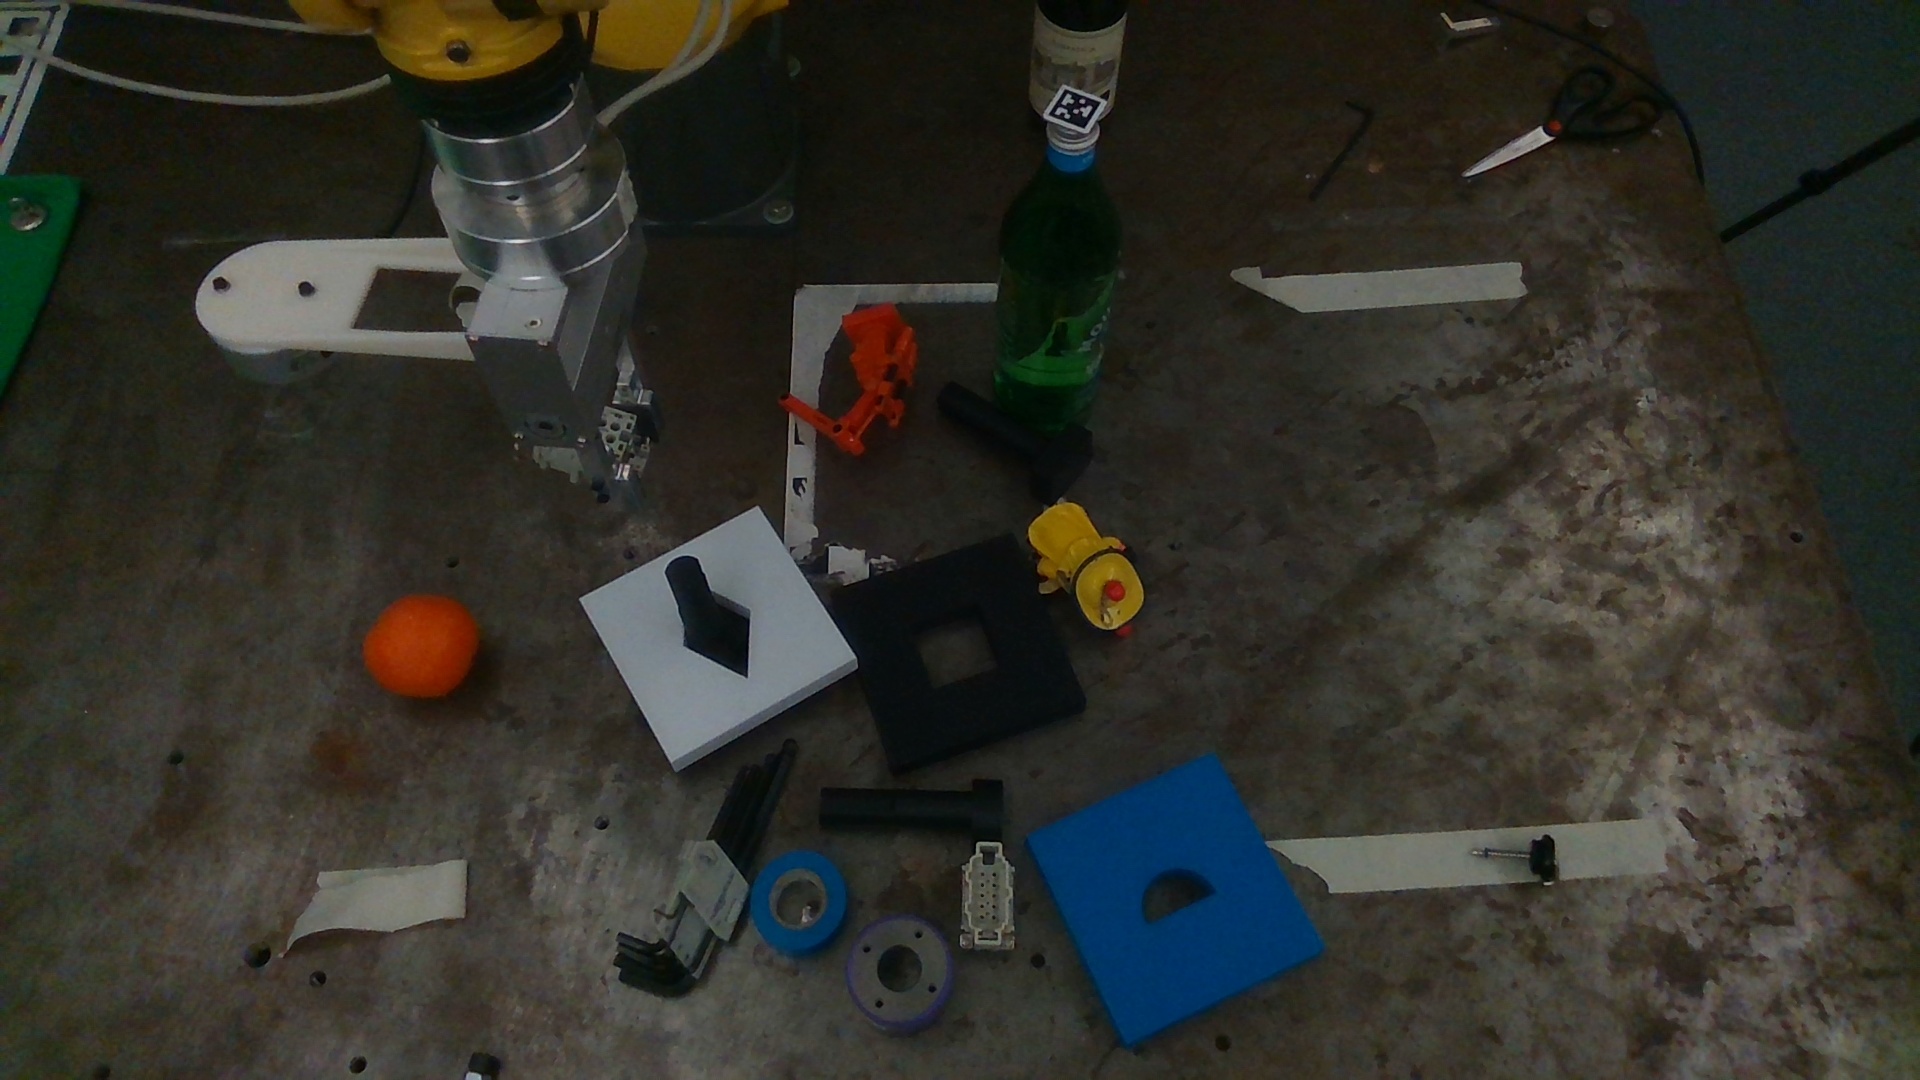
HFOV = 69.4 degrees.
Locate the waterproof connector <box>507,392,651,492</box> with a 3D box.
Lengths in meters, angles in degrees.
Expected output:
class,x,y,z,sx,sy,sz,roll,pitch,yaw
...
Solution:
class,x,y,z,sx,sy,sz,roll,pitch,yaw
waterproof connector,-0.195,-0.047,0.711,0.069,0.039,0.036,14,54,-11
